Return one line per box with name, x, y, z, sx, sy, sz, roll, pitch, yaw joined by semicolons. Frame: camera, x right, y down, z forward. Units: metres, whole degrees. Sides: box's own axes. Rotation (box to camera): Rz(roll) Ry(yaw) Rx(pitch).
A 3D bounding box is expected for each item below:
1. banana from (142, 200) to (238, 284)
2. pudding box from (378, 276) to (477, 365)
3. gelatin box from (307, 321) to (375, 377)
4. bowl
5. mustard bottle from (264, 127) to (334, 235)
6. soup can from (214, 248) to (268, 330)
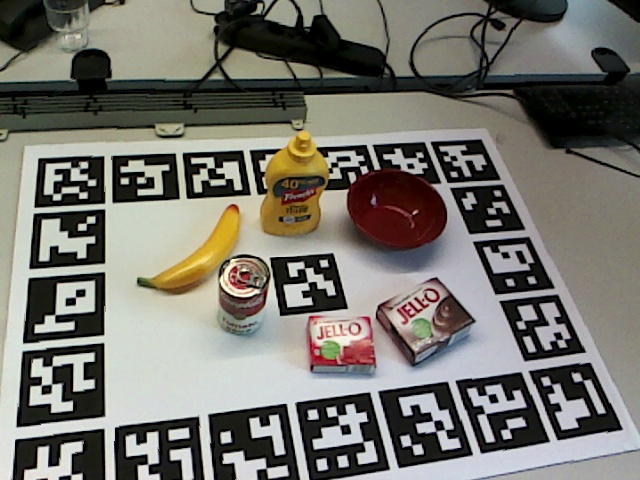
banana;-0.177;0.007;0.933;0.074;0.039;0.197;23;52;21
pudding box;0.155;0.116;0.901;0.113;0.038;0.090;-25;66;-25
gelatin box;0.028;0.151;0.859;0.089;0.030;0.073;1;56;-7
bowl;0.128;-0.038;1.009;0.161;0.055;0.162;3;52;-5
mustard bottle;-0.030;-0.089;0.919;0.096;0.191;0.059;-4;51;-13
soup can;-0.110;0.068;0.844;0.068;0.102;0.068;6;50;-7
